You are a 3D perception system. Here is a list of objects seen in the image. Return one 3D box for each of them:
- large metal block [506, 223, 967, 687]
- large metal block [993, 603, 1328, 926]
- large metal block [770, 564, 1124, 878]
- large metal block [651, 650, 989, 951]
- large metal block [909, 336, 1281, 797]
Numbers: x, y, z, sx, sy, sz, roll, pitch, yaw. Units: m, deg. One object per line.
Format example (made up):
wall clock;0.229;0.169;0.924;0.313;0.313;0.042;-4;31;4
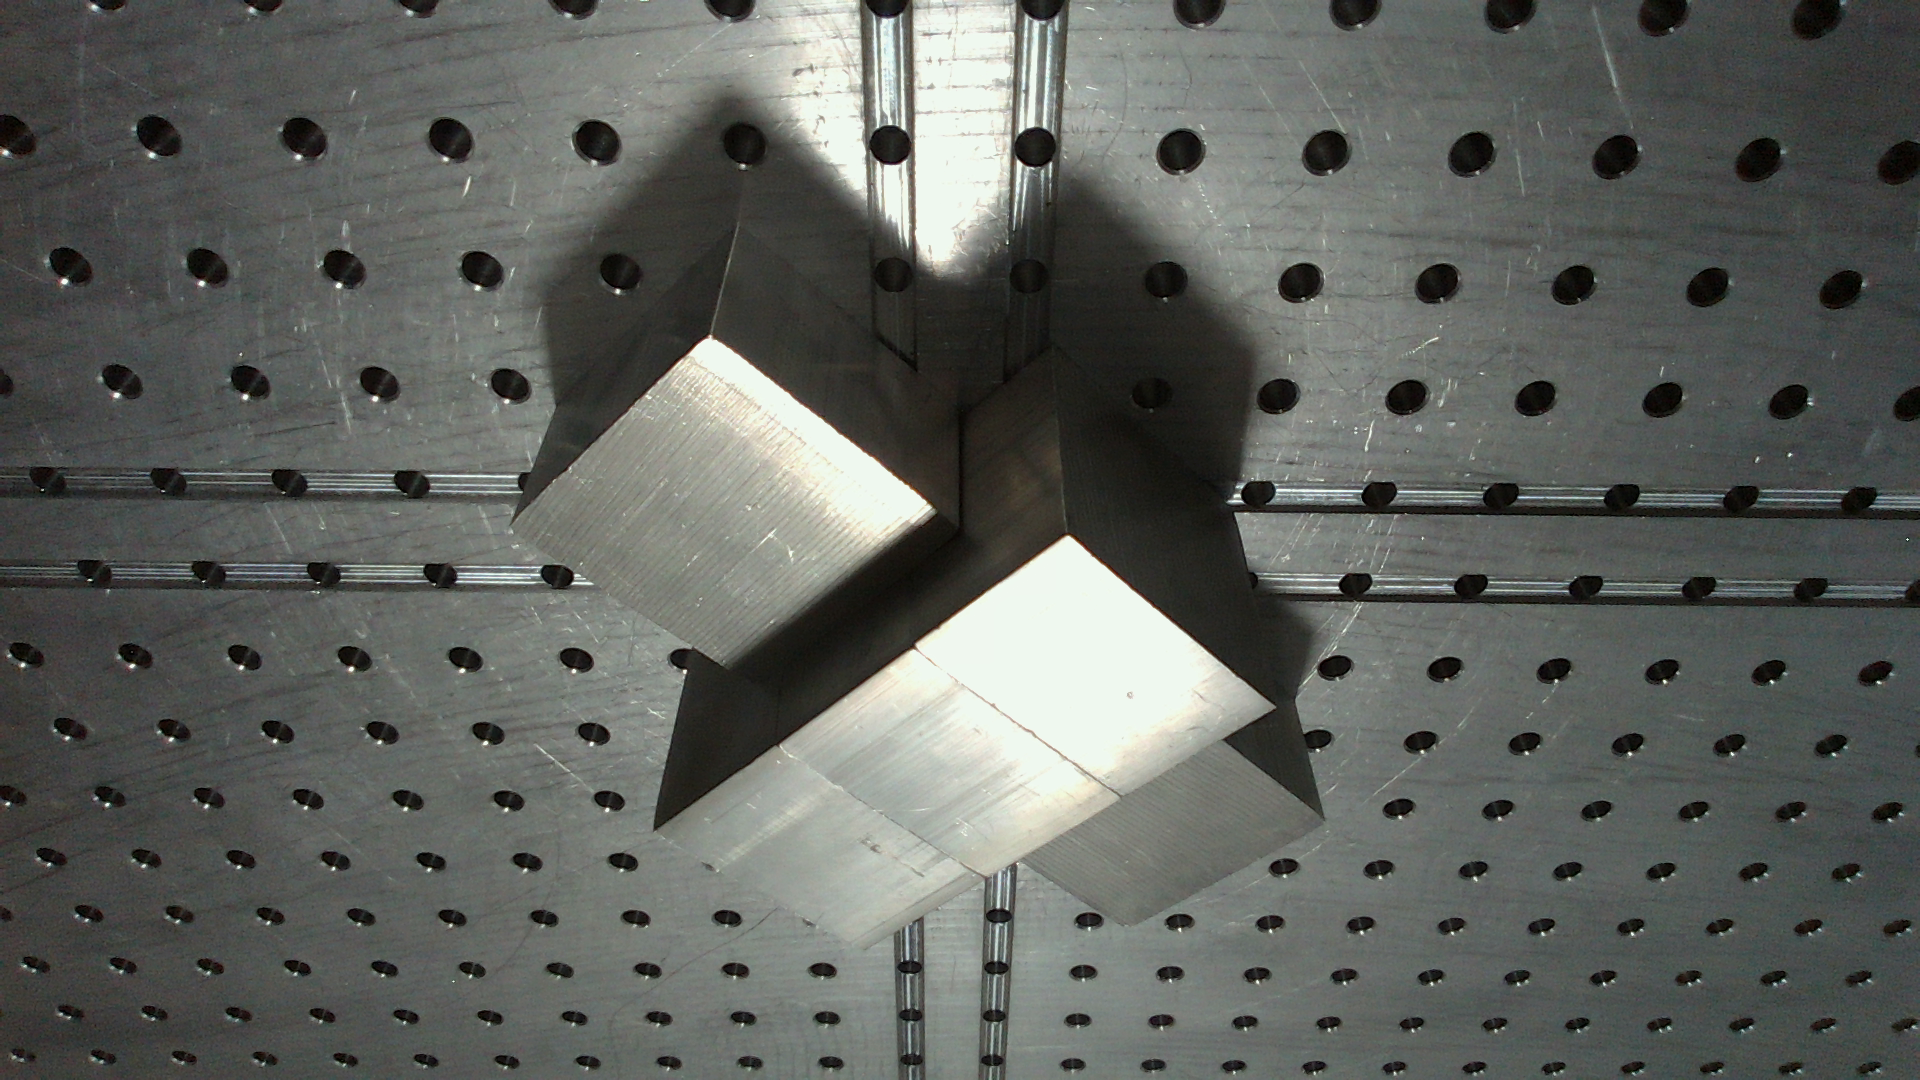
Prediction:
large metal block;-0.055;-0.019;0.357;0.080;0.050;0.080;37;122;-27
large metal block;0.055;0.068;0.435;0.080;0.050;0.080;-36;122;27
large metal block;-0.002;0.034;0.387;0.050;0.080;0.080;-37;121;27
large metal block;-0.038;0.061;0.410;0.050;0.080;0.080;-37;121;27
large metal block;0.034;0.007;0.364;0.050;0.080;0.080;-37;121;27
